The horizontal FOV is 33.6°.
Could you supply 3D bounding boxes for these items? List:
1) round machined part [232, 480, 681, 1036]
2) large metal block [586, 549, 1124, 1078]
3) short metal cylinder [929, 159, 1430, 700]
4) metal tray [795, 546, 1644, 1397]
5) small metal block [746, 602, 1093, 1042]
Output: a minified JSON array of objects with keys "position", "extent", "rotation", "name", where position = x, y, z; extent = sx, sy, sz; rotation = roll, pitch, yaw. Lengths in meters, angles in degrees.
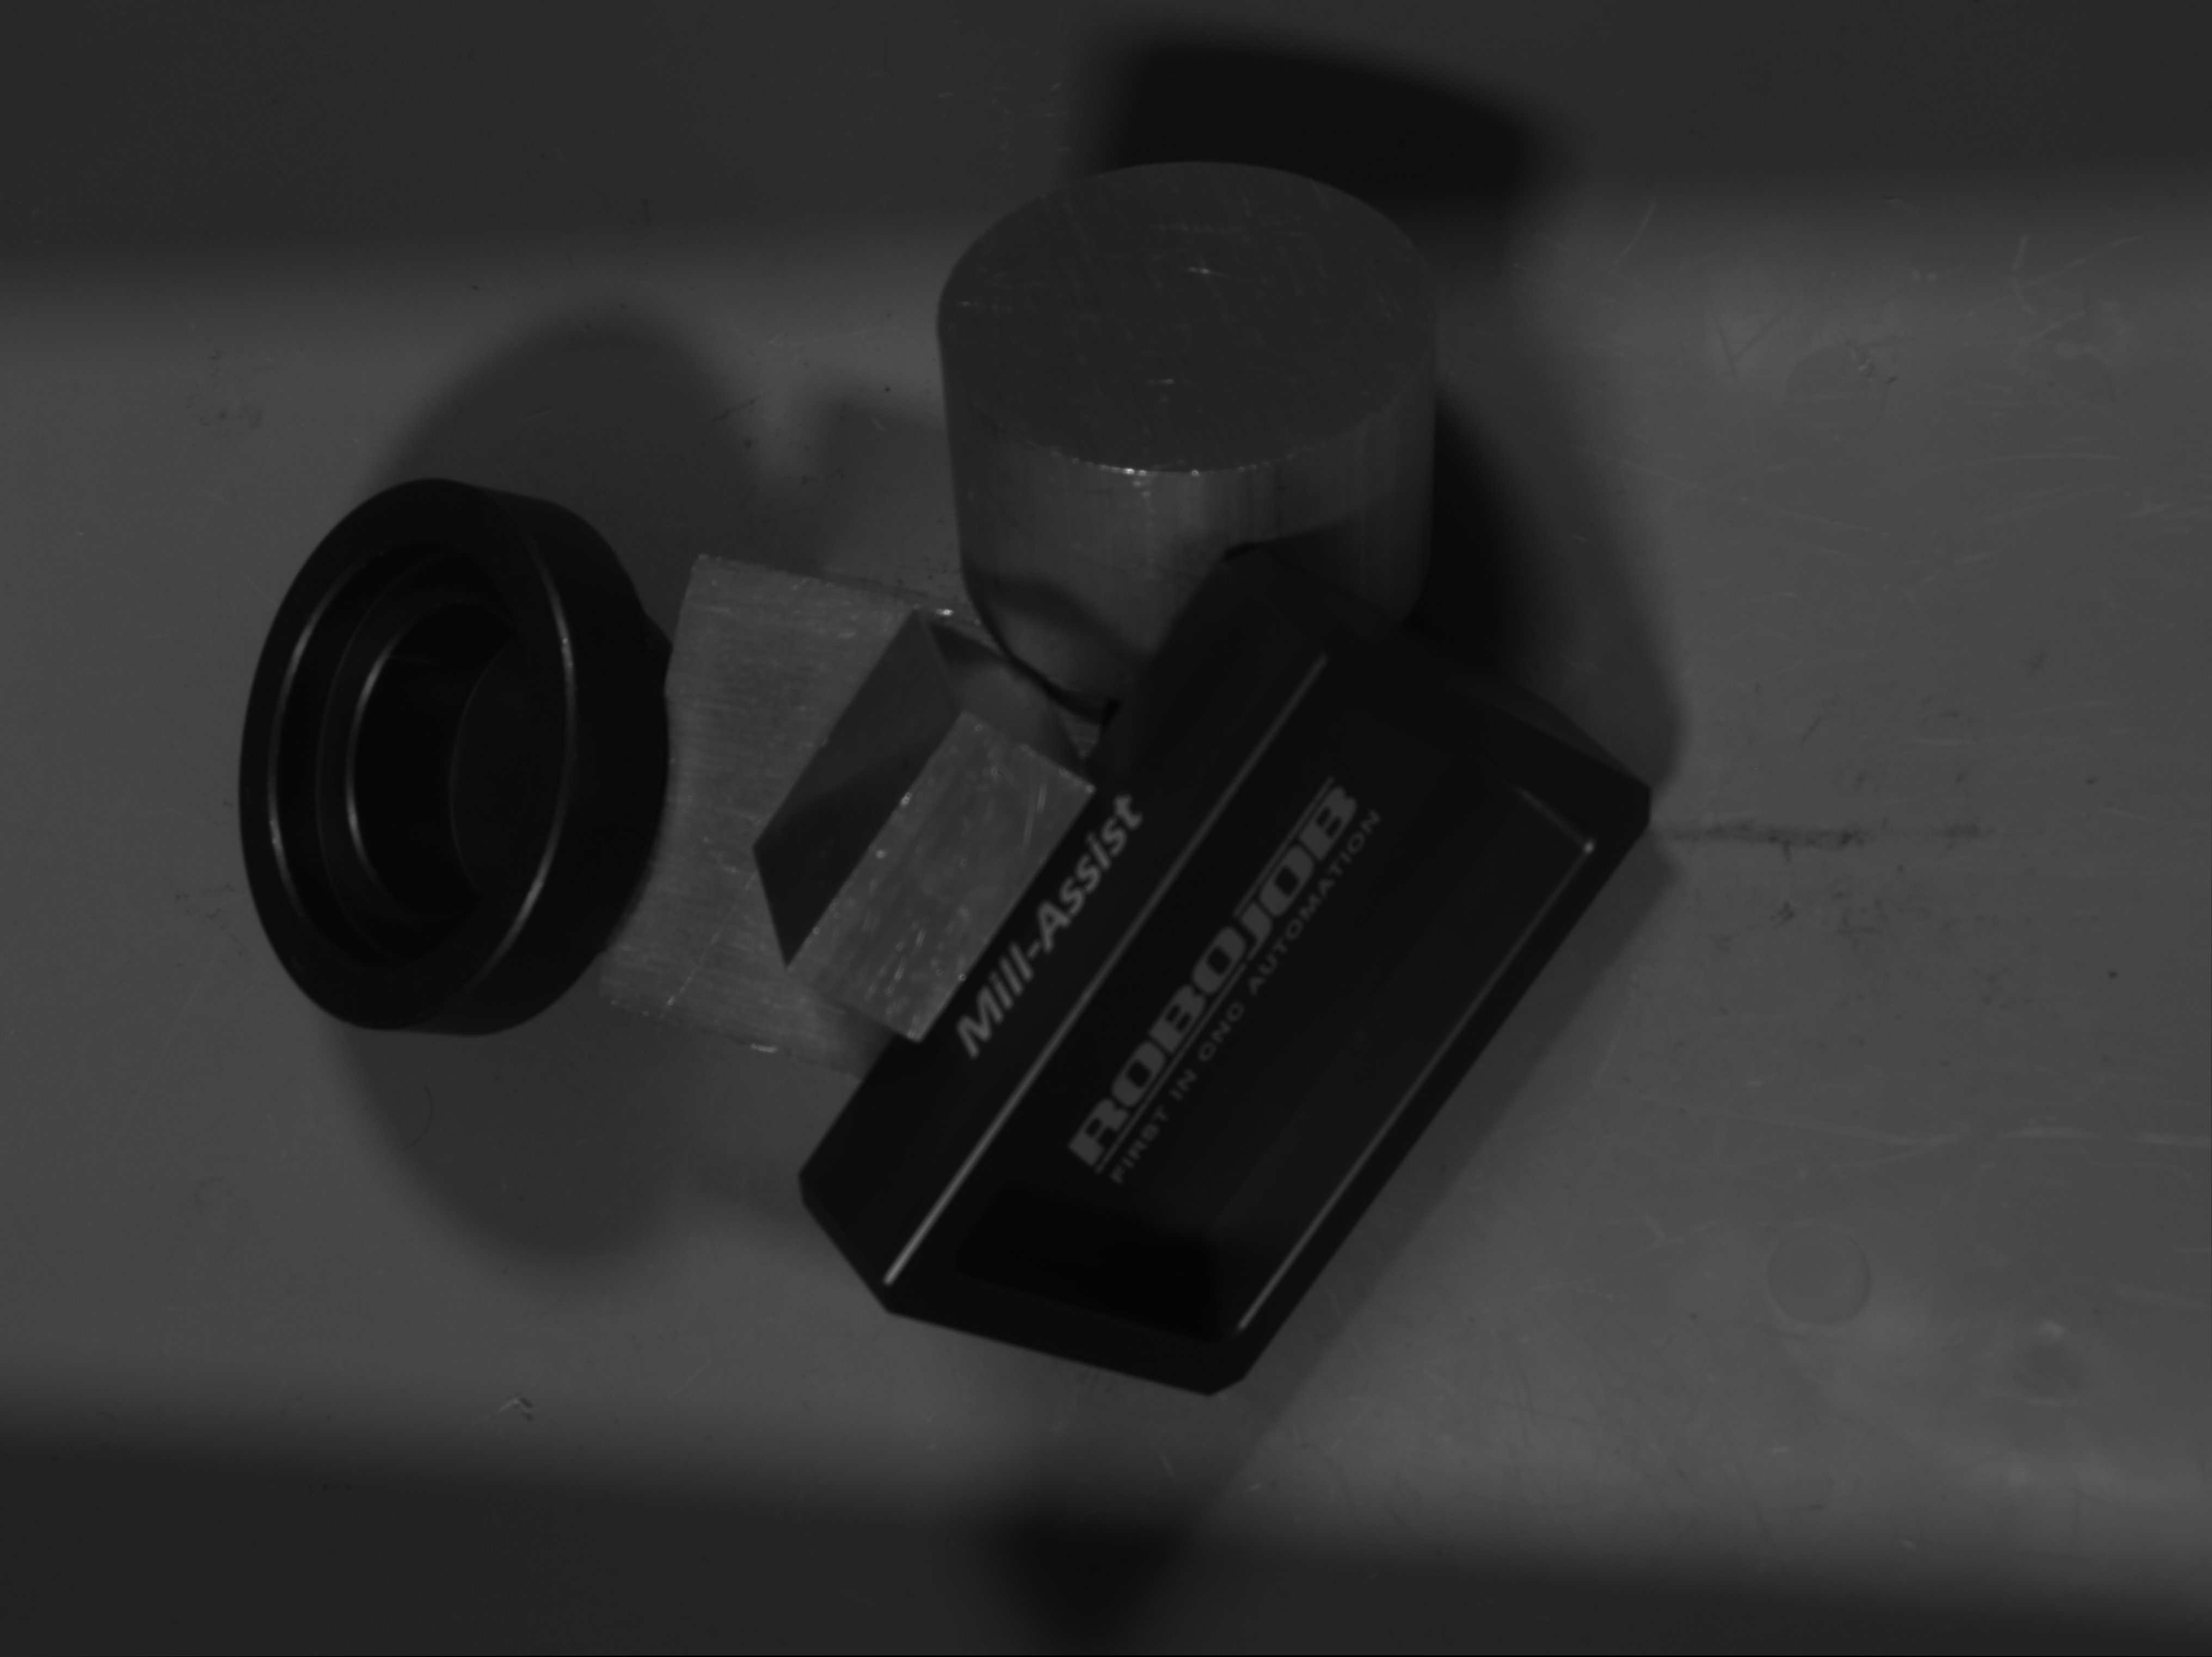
[{"position":[-0.112,-0.011,0.662],"extent":[0.098,0.042,0.098],"rotation":[-6,80,42],"name":"round machined part"},{"position":[-0.036,0.001,0.643],"extent":[0.080,0.050,0.080],"rotation":[16,95,19],"name":"large metal block"},{"position":[0.013,-0.066,0.603],"extent":[0.080,0.080,0.050],"rotation":[17,140,19],"name":"short metal cylinder"},{"position":[0.020,0.027,0.600],"extent":[0.130,0.090,0.030],"rotation":[-55,46,11],"name":"metal tray"},{"position":[-0.031,-0.002,0.586],"extent":[0.025,0.050,0.050],"rotation":[31,103,-21],"name":"small metal block"}]
